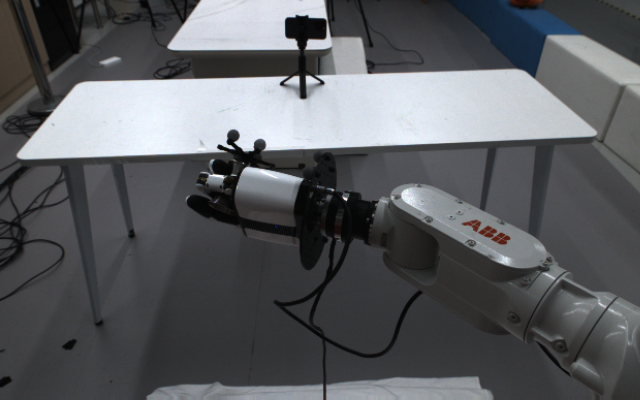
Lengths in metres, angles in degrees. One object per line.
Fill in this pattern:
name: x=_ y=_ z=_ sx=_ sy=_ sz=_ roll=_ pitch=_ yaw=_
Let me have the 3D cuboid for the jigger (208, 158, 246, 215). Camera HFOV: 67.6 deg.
jigger: x=-0.123 y=-0.018 z=0.679 sx=0.043 sy=0.043 sz=0.071 roll=15 pitch=71 yaw=18
